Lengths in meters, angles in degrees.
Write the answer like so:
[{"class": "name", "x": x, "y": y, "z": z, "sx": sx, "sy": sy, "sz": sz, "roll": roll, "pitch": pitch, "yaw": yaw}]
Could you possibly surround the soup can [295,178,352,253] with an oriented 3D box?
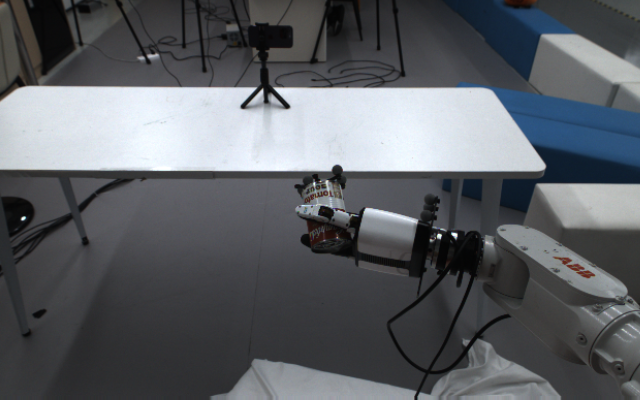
[{"class": "soup can", "x": 0.012, "y": 0.028, "z": 0.776, "sx": 0.067, "sy": 0.067, "sz": 0.101, "roll": -6, "pitch": 67, "yaw": -12}]
